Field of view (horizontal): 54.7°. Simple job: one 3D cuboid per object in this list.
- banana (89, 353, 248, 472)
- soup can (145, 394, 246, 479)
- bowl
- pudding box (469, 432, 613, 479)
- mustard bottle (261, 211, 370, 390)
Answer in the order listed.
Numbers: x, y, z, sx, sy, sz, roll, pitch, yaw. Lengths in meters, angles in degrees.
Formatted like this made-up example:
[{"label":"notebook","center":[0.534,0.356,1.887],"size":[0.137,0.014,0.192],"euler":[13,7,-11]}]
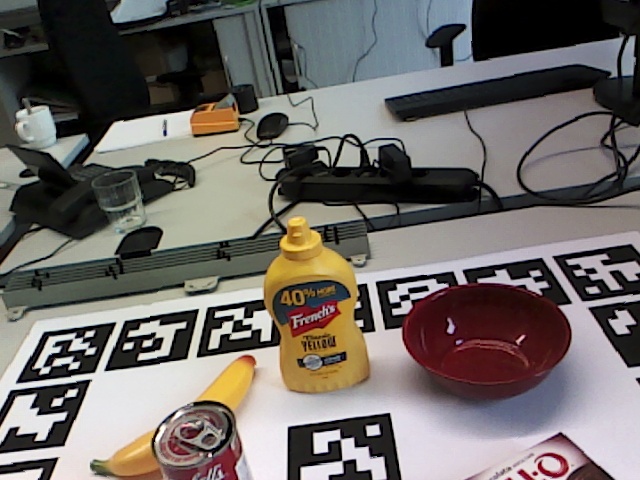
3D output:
[{"label":"banana","center":[-0.138,0.178,0.640],"size":[0.075,0.039,0.196],"euler":[5,31,45]},{"label":"soup can","center":[-0.100,0.191,0.519],"size":[0.068,0.102,0.068],"euler":[-7,27,3]},{"label":"bowl","center":[0.174,0.114,0.638],"size":[0.162,0.055,0.162],"euler":[-10,28,5]},{"label":"pudding box","center":[0.173,0.210,0.475],"size":[0.113,0.038,0.090],"euler":[-21,36,-18]},{"label":"mustard bottle","center":[-0.008,0.060,0.625],"size":[0.096,0.191,0.058],"euler":[-8,26,3]}]
